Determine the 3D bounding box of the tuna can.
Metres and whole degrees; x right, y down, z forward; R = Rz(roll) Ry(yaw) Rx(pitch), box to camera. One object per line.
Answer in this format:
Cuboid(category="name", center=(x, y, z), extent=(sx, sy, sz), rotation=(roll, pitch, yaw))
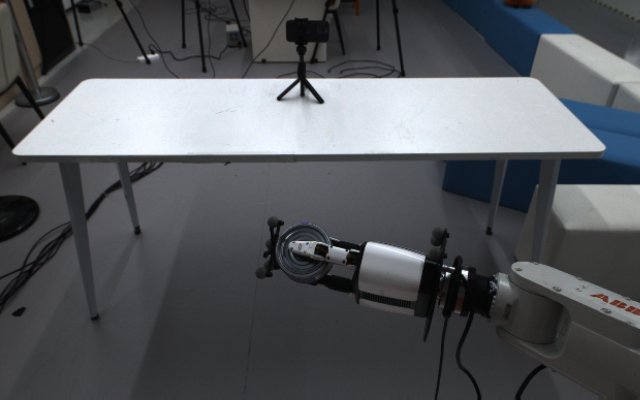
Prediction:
Cuboid(category="tuna can", center=(-0.019, 0.077, 0.714), extent=(0.085, 0.034, 0.085), rotation=(-2, 69, 6))
